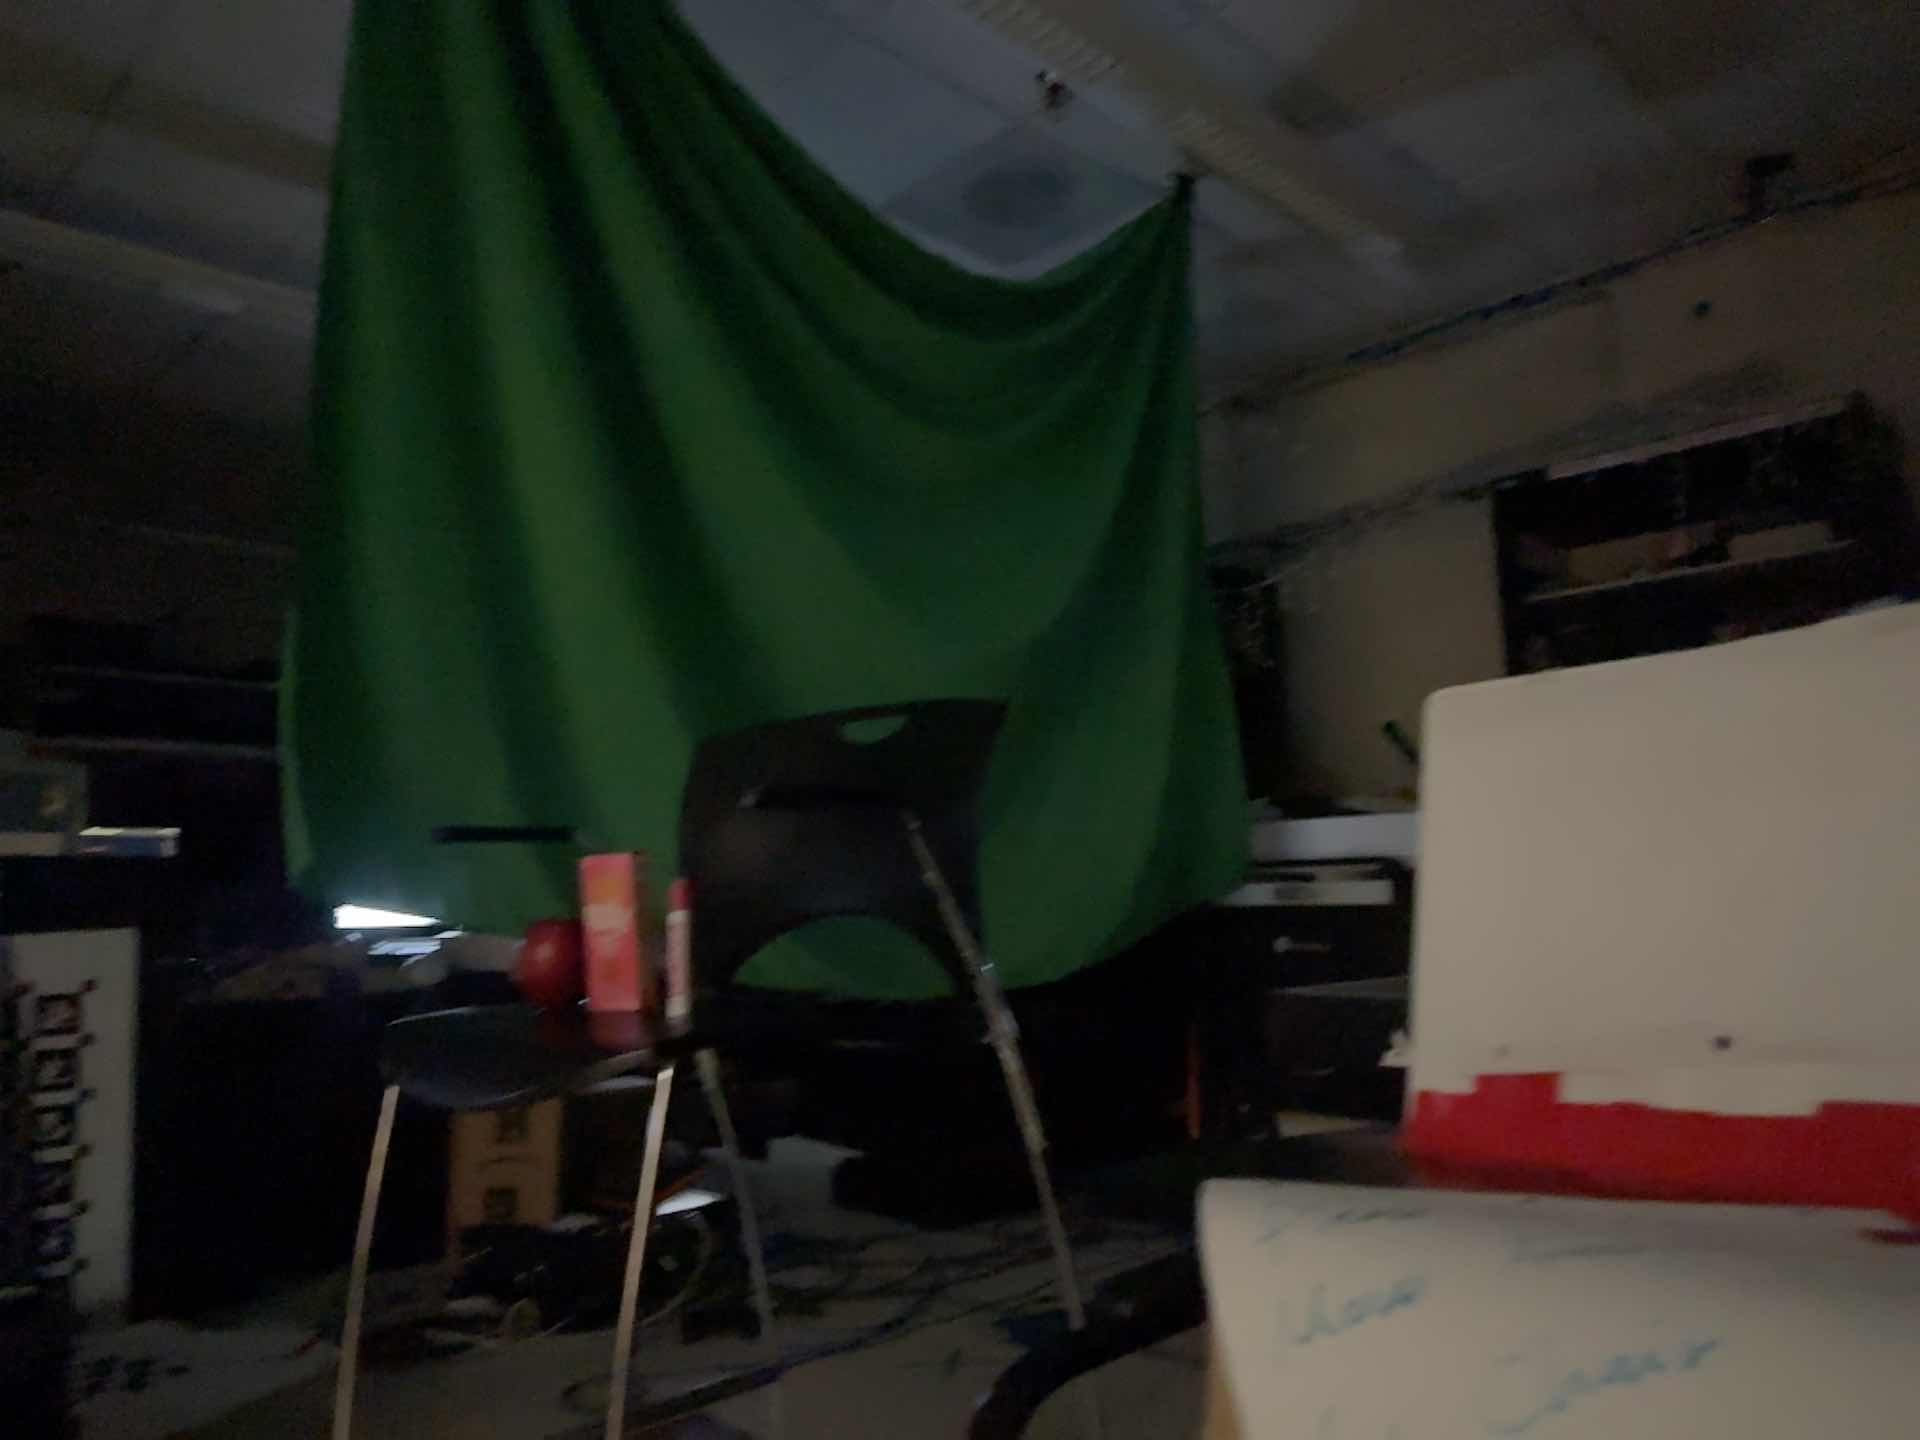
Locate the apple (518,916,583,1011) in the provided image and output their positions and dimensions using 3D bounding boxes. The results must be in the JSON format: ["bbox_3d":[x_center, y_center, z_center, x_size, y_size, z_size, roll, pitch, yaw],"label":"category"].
[{"bbox_3d":[-0.407,0.247,1.369,0.079,0.093,0.079,2,-8,0],"label":"apple"}]

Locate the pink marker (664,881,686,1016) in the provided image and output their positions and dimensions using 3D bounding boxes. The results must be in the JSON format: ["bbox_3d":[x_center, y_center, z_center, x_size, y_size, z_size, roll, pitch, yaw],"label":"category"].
[{"bbox_3d":[-0.262,0.209,1.238,0.020,0.121,0.020,-1,-5,0],"label":"pink marker"}]

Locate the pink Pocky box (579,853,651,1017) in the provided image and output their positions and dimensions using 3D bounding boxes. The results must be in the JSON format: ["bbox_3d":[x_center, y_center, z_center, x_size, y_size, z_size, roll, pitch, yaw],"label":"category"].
[{"bbox_3d":[-0.337,0.208,1.312,0.084,0.155,0.029,-6,-5,43],"label":"pink Pocky box"}]
